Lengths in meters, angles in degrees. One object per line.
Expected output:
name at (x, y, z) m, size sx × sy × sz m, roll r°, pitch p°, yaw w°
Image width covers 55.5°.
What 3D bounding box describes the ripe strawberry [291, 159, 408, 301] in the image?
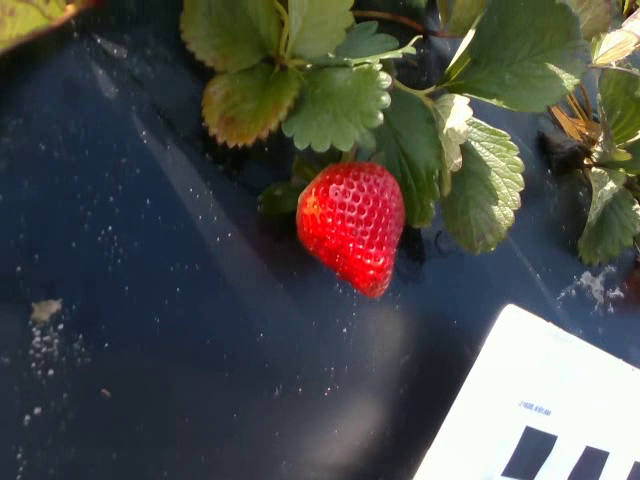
ripe strawberry at (0.013, -0.001, 0.171) m, size 0.041 × 0.047 × 0.041 m, roll -6°, pitch -38°, yaw -17°
